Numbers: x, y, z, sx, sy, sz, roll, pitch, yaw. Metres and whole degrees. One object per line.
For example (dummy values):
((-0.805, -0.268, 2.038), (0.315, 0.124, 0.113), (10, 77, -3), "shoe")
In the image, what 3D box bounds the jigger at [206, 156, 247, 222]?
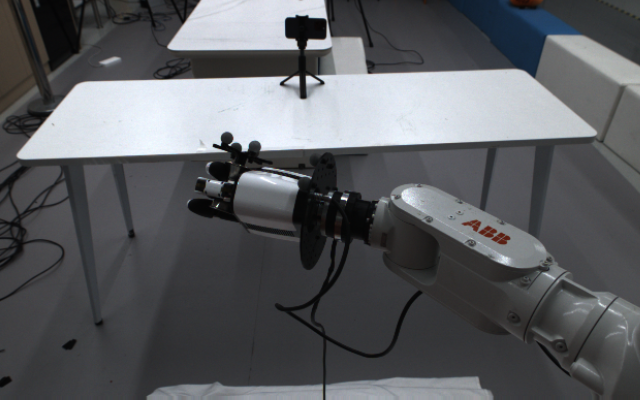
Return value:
((-0.124, -0.016, 0.677), (0.043, 0.071, 0.043), (18, -6, 2), "jigger")
